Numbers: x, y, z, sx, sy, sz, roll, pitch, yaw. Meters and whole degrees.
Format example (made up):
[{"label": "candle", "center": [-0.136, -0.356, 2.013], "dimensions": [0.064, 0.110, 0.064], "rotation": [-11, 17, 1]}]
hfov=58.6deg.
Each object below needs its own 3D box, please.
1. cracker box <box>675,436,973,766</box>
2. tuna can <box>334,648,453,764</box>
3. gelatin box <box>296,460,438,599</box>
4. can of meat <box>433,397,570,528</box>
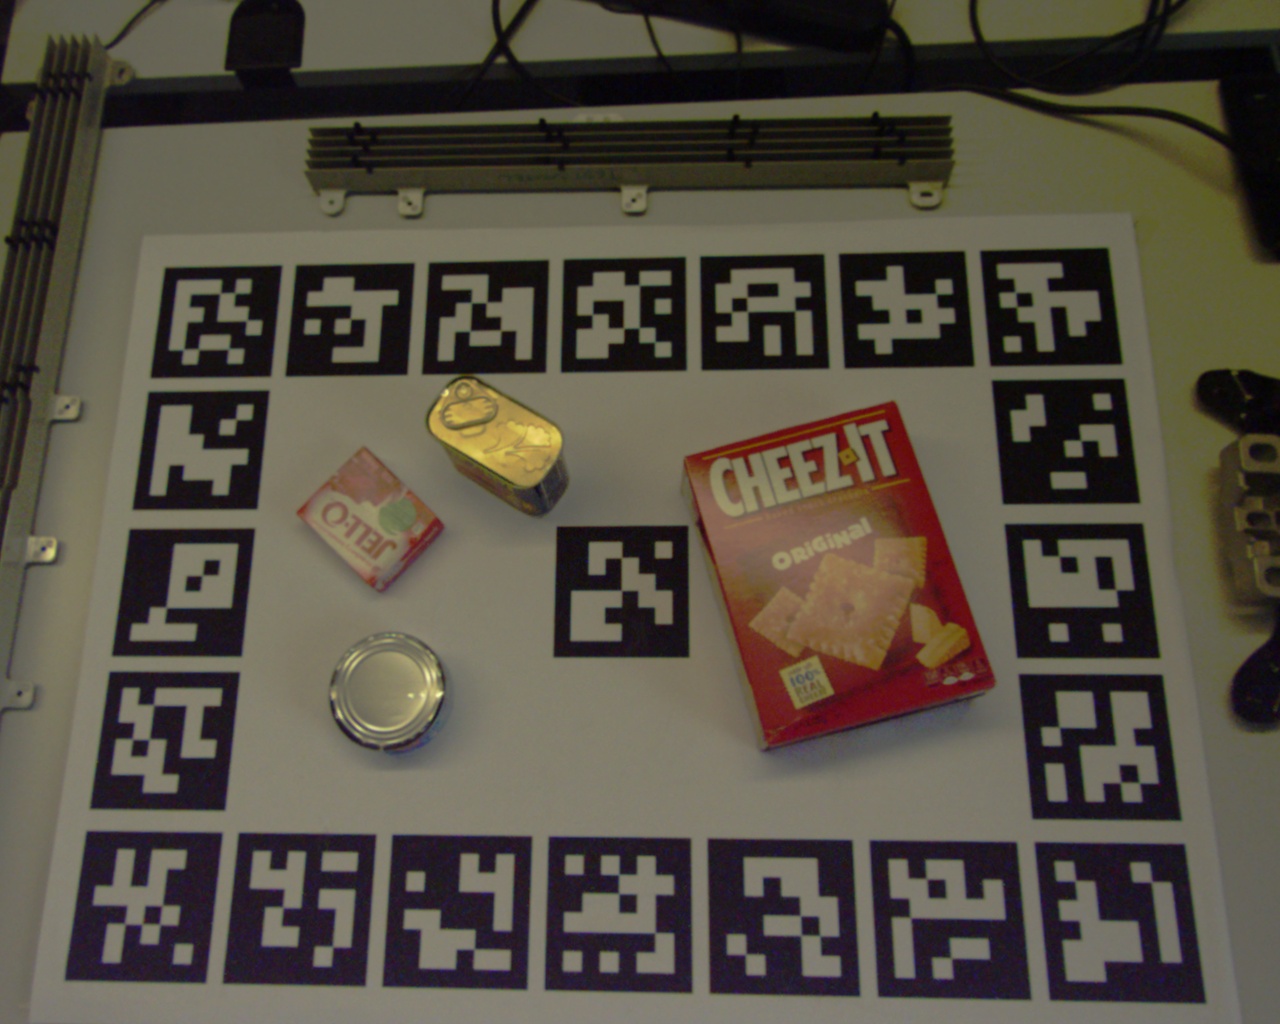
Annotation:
[{"label": "cracker box", "center": [0.134, 0.066, 0.870], "dimensions": [0.164, 0.072, 0.214], "rotation": [-16, 71, -4]}, {"label": "tuna can", "center": [-0.187, 0.149, 0.871], "dimensions": [0.086, 0.033, 0.086], "rotation": [-1, 75, 4]}, {"label": "gelatin box", "center": [-0.219, 0.014, 0.921], "dimensions": [0.090, 0.030, 0.073], "rotation": [41, 76, 11]}, {"label": "can of meat", "center": [-0.107, -0.036, 0.911], "dimensions": [0.102, 0.083, 0.057], "rotation": [29, 75, 12]}]
